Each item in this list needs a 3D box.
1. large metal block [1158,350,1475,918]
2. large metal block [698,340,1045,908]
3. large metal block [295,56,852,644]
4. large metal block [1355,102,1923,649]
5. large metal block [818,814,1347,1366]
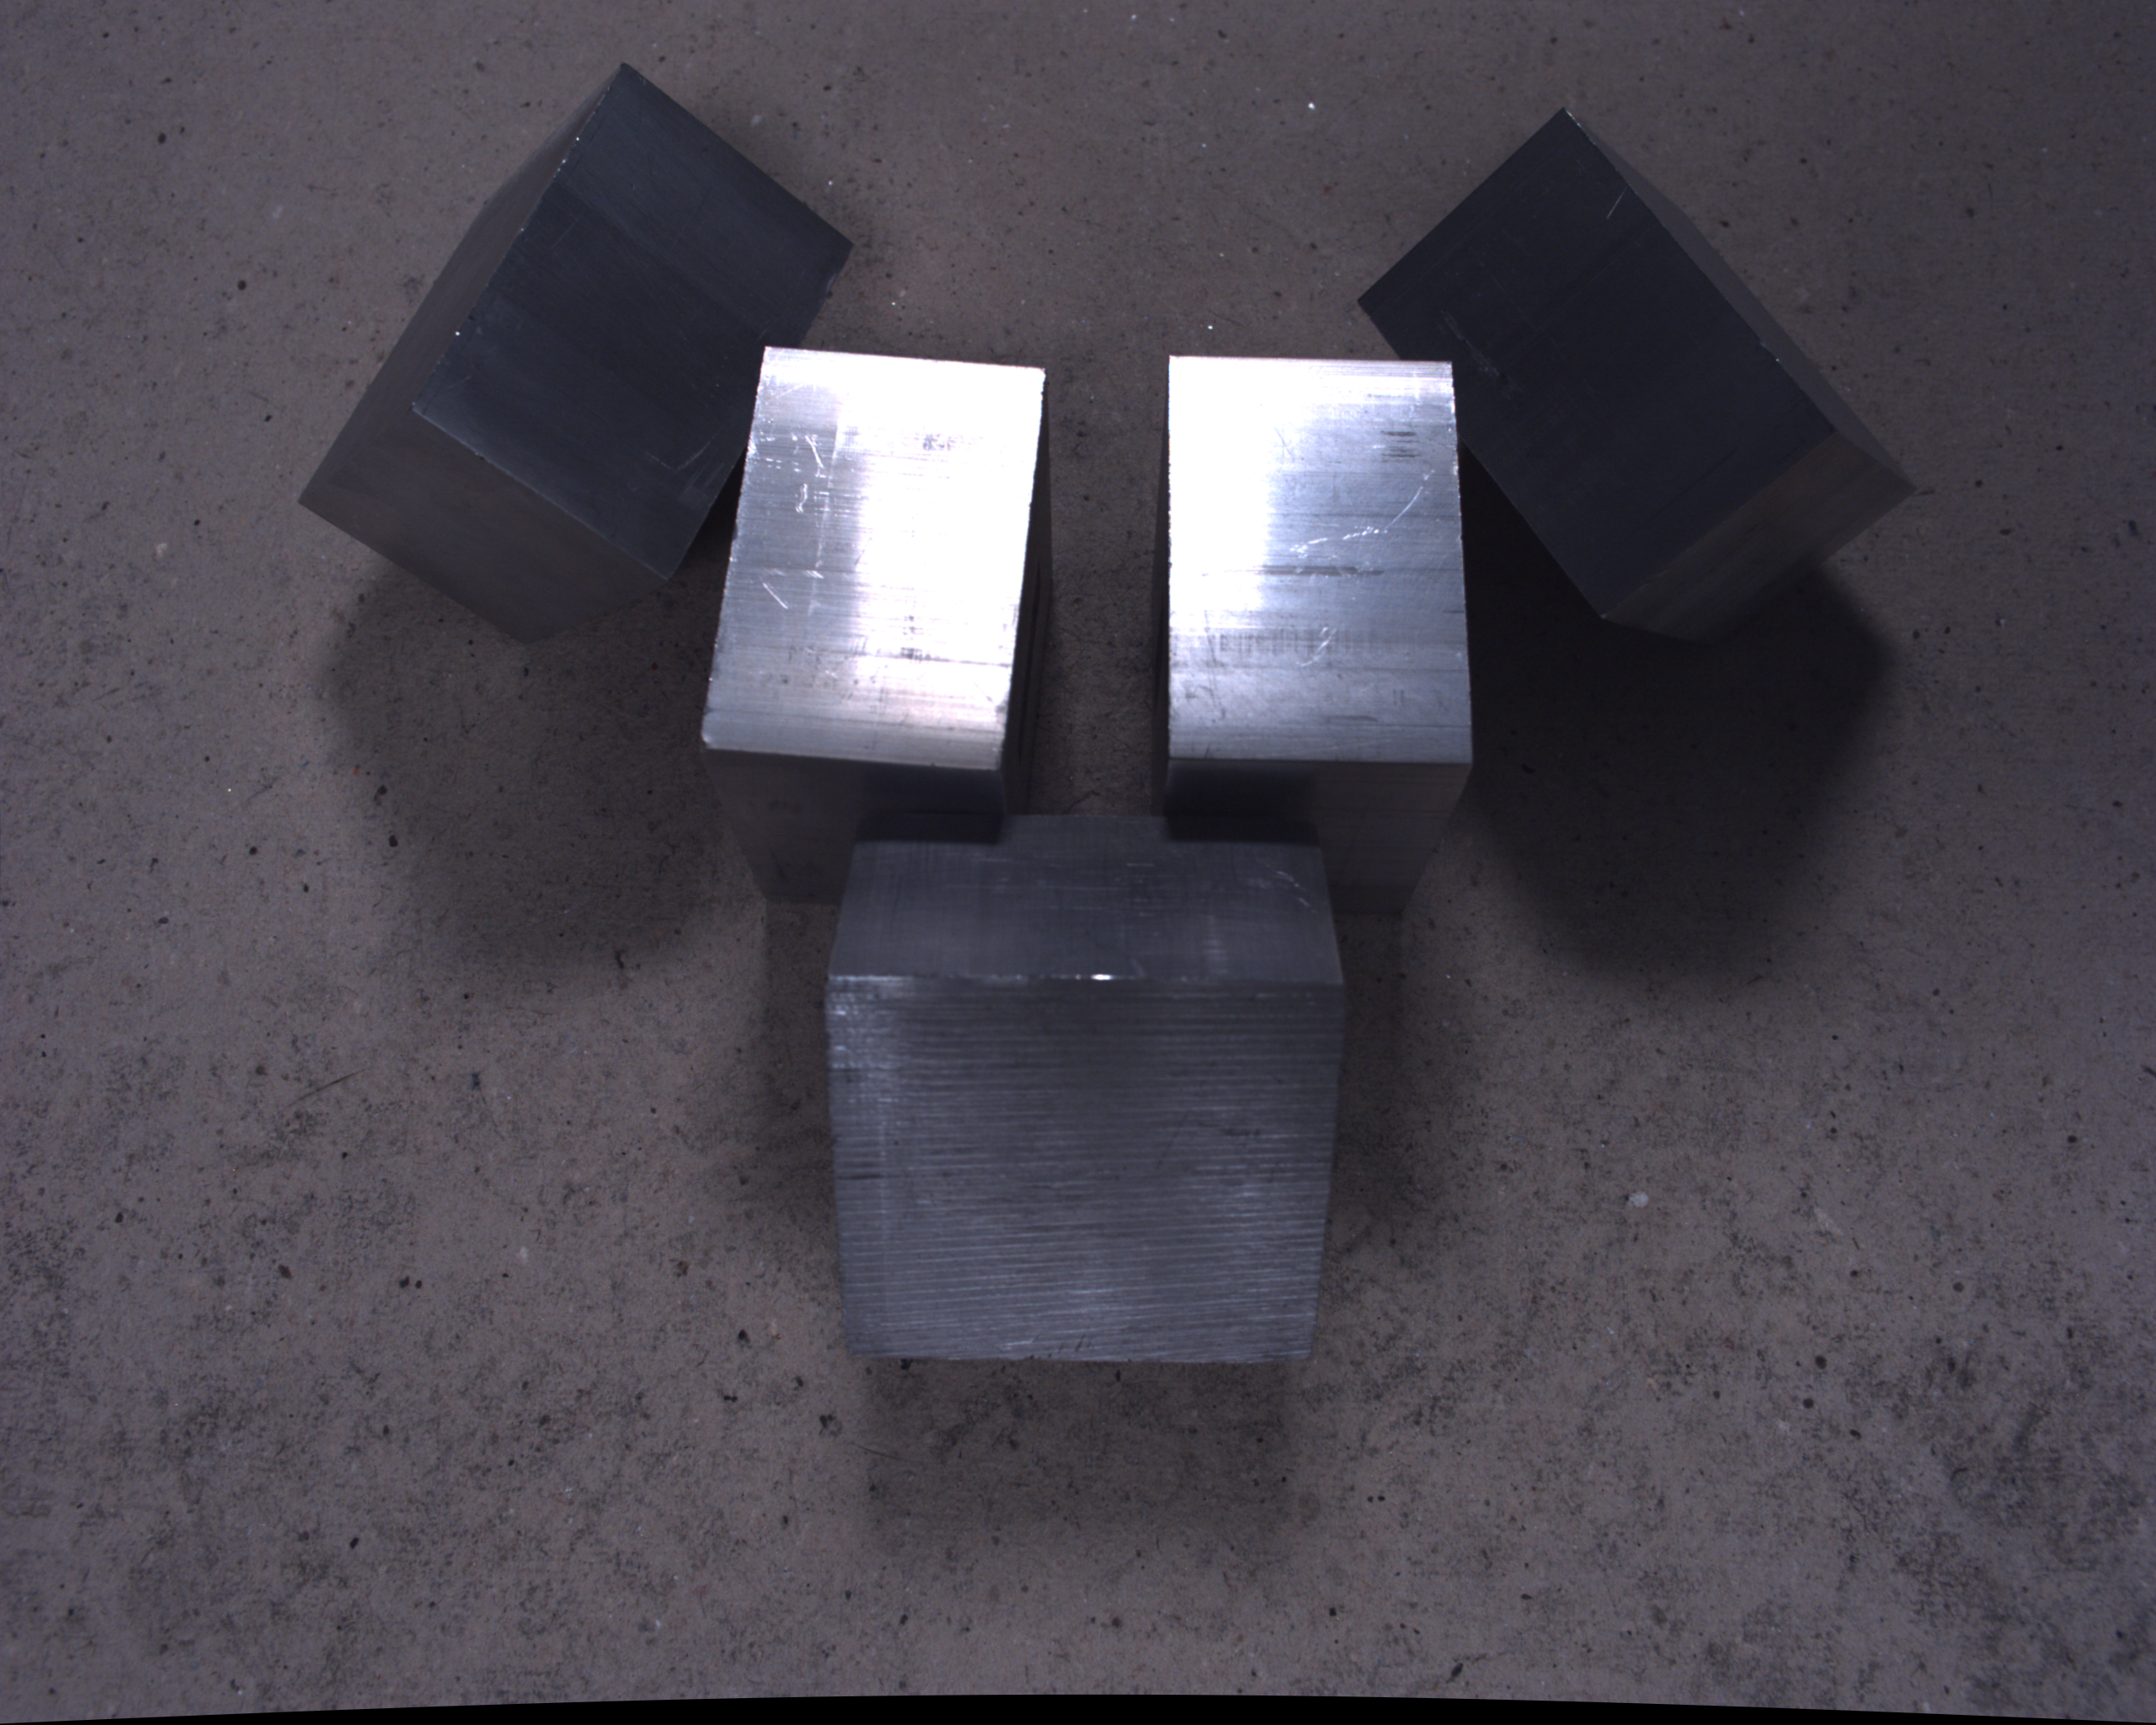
[{"bbox_3d":[0.041,-0.040,0.395,0.050,0.080,0.080,1,70,0],"label":"large metal block"},{"bbox_3d":[-0.034,-0.040,0.395,0.050,0.080,0.080,5,70,1],"label":"large metal block"},{"bbox_3d":[-0.099,-0.095,0.404,0.050,0.080,0.080,34,69,-27],"label":"large metal block"},{"bbox_3d":[0.111,-0.091,0.408,0.050,0.080,0.080,-41,71,25],"label":"large metal block"},{"bbox_3d":[0.001,0.039,0.359,0.081,0.079,0.050,1,31,0],"label":"large metal block"}]
